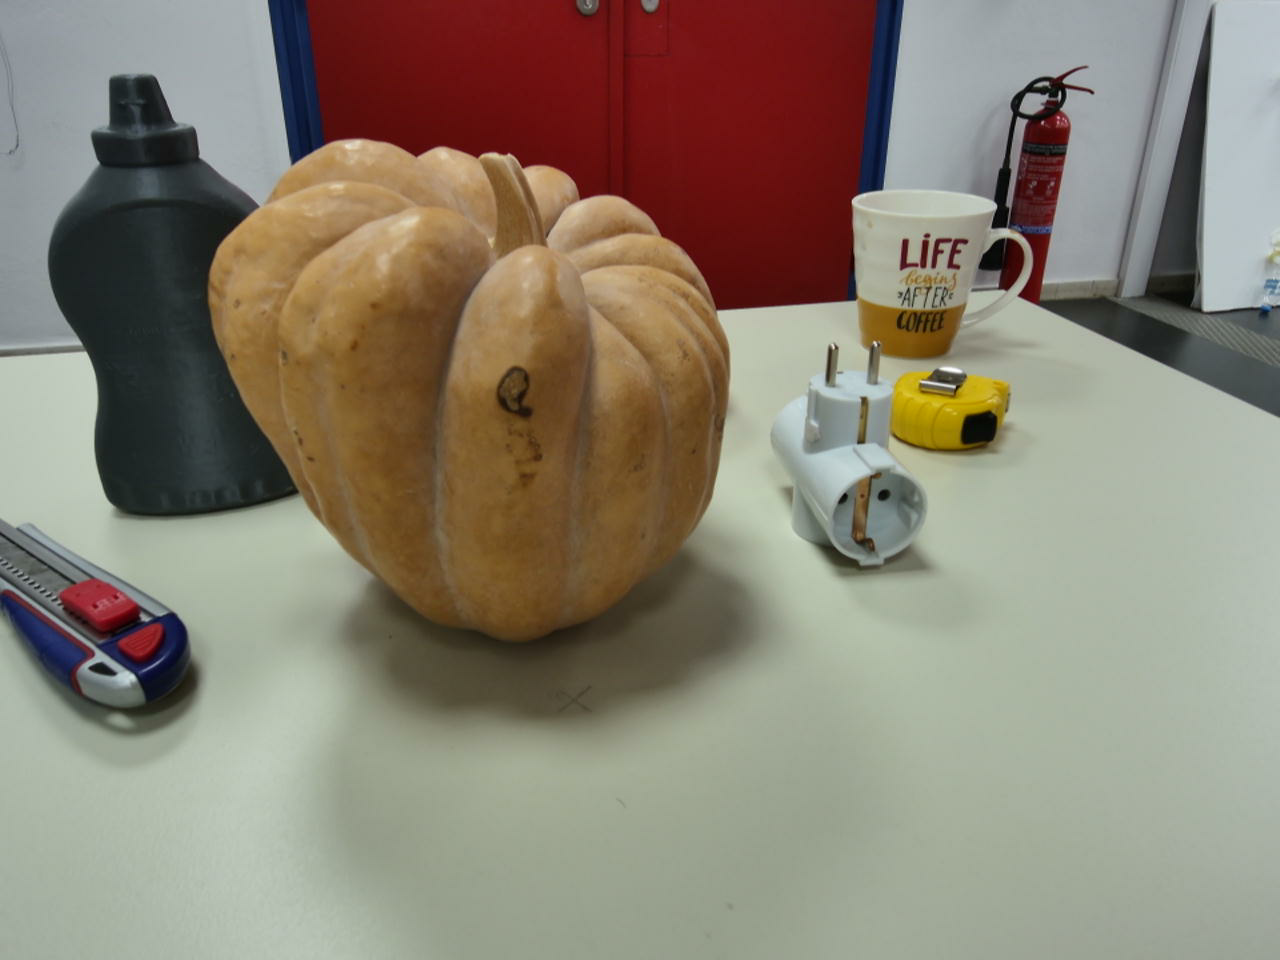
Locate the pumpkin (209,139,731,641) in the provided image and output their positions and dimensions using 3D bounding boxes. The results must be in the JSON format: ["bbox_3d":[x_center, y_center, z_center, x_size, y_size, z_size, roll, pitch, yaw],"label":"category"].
[{"bbox_3d":[-0.058,-0.037,0.386,0.199,0.177,0.198,0,25,0],"label":"pumpkin"}]
